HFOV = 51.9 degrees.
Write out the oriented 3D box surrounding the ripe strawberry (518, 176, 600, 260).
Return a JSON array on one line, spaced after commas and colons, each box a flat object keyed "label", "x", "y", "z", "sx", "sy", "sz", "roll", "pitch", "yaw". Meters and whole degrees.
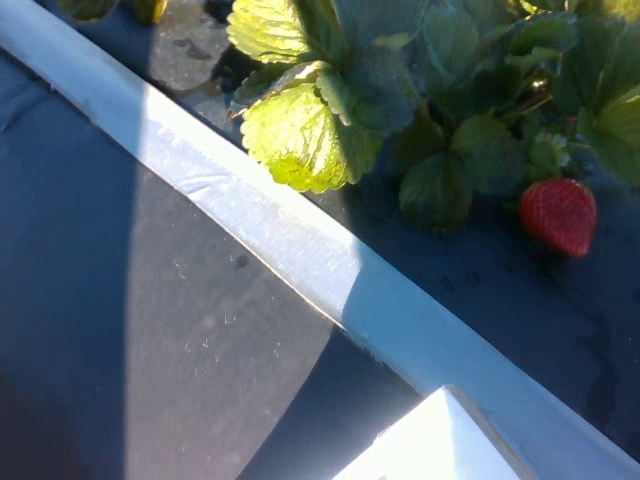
[{"label": "ripe strawberry", "x": 0.131, "y": -0.011, "z": 0.347, "sx": 0.045, "sy": 0.059, "sz": 0.042, "roll": -21, "pitch": -40, "yaw": 23}]
